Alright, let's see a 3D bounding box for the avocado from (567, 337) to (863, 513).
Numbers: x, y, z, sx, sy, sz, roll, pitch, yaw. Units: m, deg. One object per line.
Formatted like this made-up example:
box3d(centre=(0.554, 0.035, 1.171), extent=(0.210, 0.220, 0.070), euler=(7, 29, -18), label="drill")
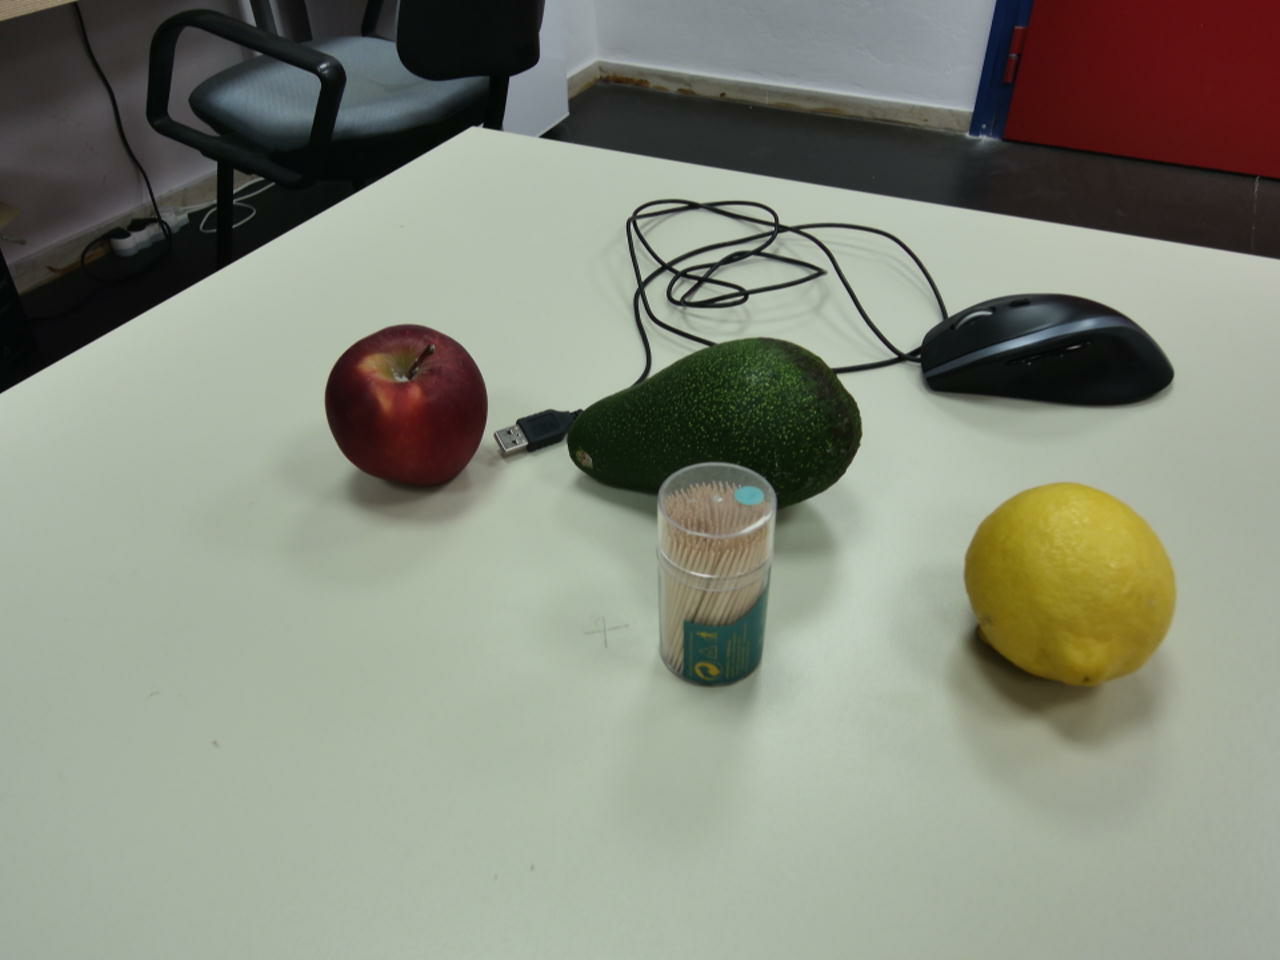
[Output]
box3d(centre=(0.035, -0.028, 0.427), extent=(0.123, 0.076, 0.074), euler=(22, 42, 26), label="avocado")
